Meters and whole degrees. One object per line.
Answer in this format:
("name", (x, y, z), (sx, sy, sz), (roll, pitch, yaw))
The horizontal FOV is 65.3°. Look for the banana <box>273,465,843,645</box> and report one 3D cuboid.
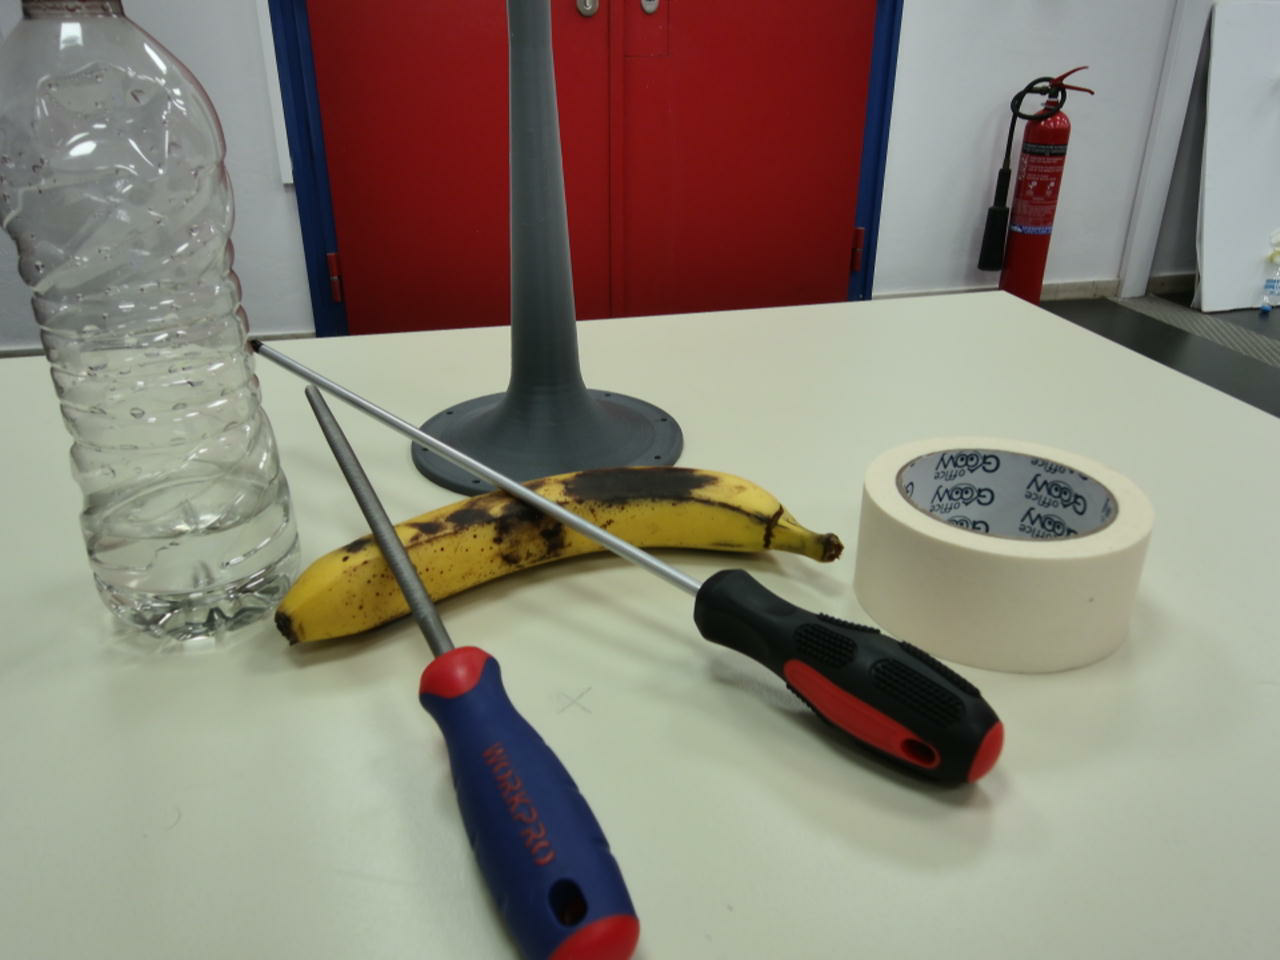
("banana", (-0.034, 0.025, 0.418), (0.222, 0.037, 0.084), (-6, 25, -12))
